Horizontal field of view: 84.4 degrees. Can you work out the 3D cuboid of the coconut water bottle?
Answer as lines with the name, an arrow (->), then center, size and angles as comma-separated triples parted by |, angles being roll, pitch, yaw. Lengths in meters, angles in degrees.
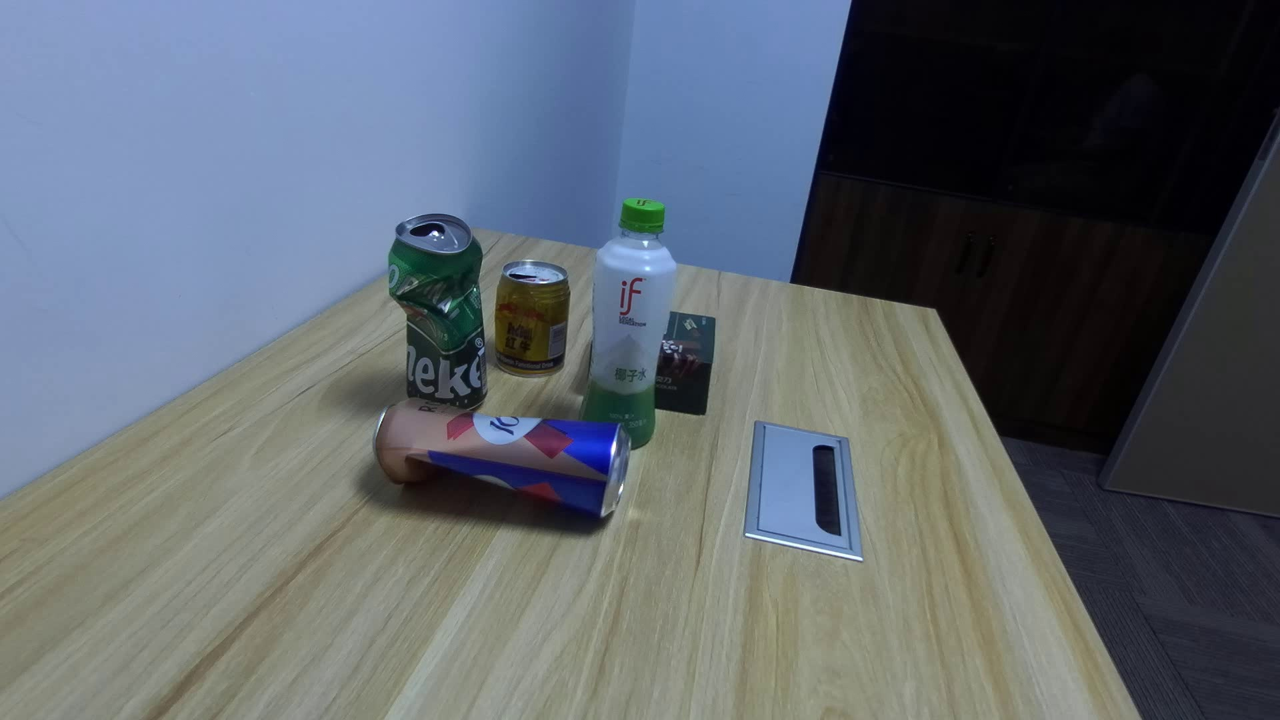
coconut water bottle -> -0.008, -0.026, 0.537 | 0.063, 0.188, 0.063 | 6, 25, -3

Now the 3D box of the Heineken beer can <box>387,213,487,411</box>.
Heineken beer can -> -0.156, -0.033, 0.555 | 0.067, 0.159, 0.078 | -4, 34, -16

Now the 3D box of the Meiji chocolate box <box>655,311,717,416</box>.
Meiji chocolate box -> 0.013, -0.004, 0.656 | 0.109, 0.056, 0.110 | 8, 25, 4

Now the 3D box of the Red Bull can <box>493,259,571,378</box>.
Red Bull can -> -0.099, -0.040, 0.651 | 0.069, 0.092, 0.069 | 6, 28, -3

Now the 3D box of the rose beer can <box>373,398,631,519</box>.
rose beer can -> -0.091, 0.063, 0.478 | 0.168, 0.069, 0.070 | 7, 45, 4
